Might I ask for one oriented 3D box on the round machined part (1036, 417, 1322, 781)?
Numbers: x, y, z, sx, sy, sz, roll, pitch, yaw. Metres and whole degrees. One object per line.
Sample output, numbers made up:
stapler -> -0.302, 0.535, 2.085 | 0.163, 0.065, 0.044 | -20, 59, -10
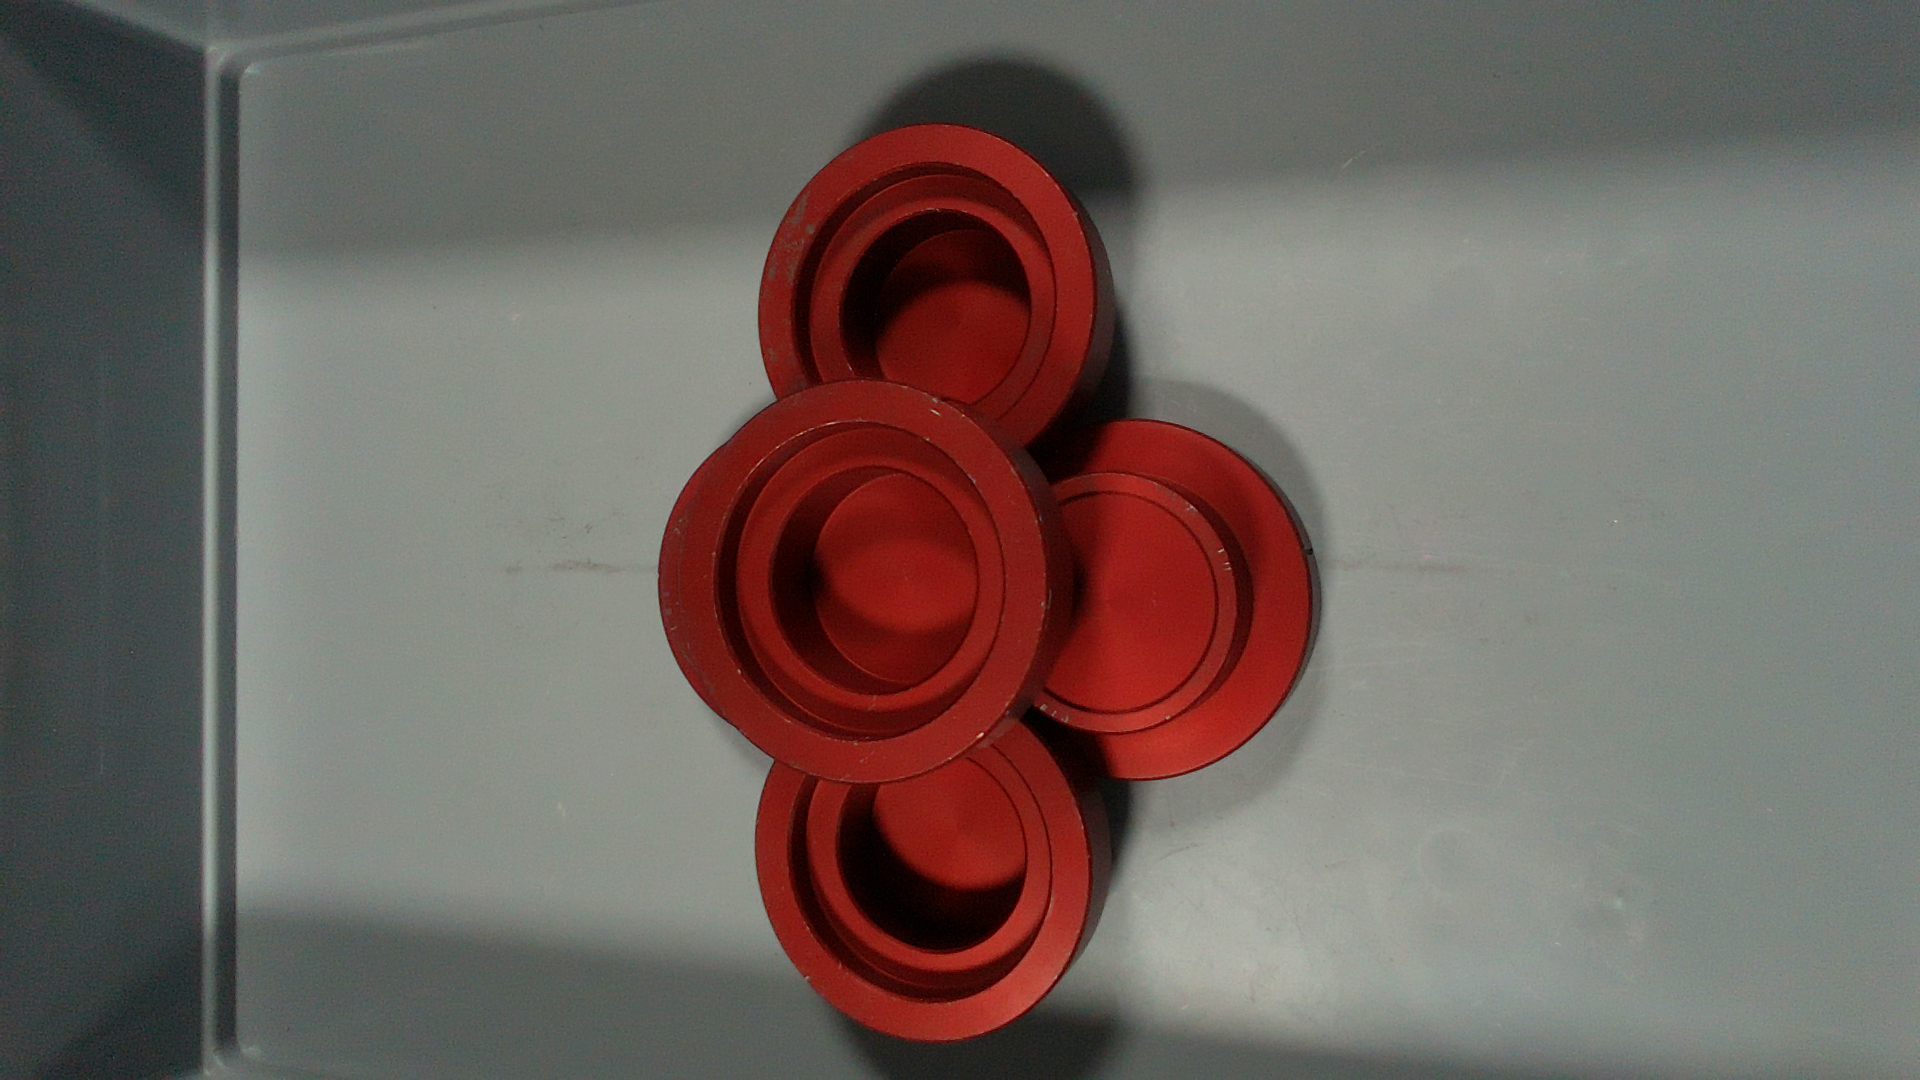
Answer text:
round machined part -> 0.045, 0.016, 0.369 | 0.098, 0.042, 0.098 | 0, 90, 20

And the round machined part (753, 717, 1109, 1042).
round machined part -> -0.005, 0.085, 0.387 | 0.098, 0.042, 0.098 | 0, 90, 20

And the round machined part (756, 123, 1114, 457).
round machined part -> -0.004, -0.062, 0.386 | 0.098, 0.042, 0.098 | 0, 90, 20

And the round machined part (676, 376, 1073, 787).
round machined part -> -0.018, 0.010, 0.347 | 0.098, 0.042, 0.098 | 0, 90, 20

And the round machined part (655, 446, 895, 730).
round machined part -> -0.048, 0.013, 0.403 | 0.098, 0.042, 0.098 | 0, 90, 20
